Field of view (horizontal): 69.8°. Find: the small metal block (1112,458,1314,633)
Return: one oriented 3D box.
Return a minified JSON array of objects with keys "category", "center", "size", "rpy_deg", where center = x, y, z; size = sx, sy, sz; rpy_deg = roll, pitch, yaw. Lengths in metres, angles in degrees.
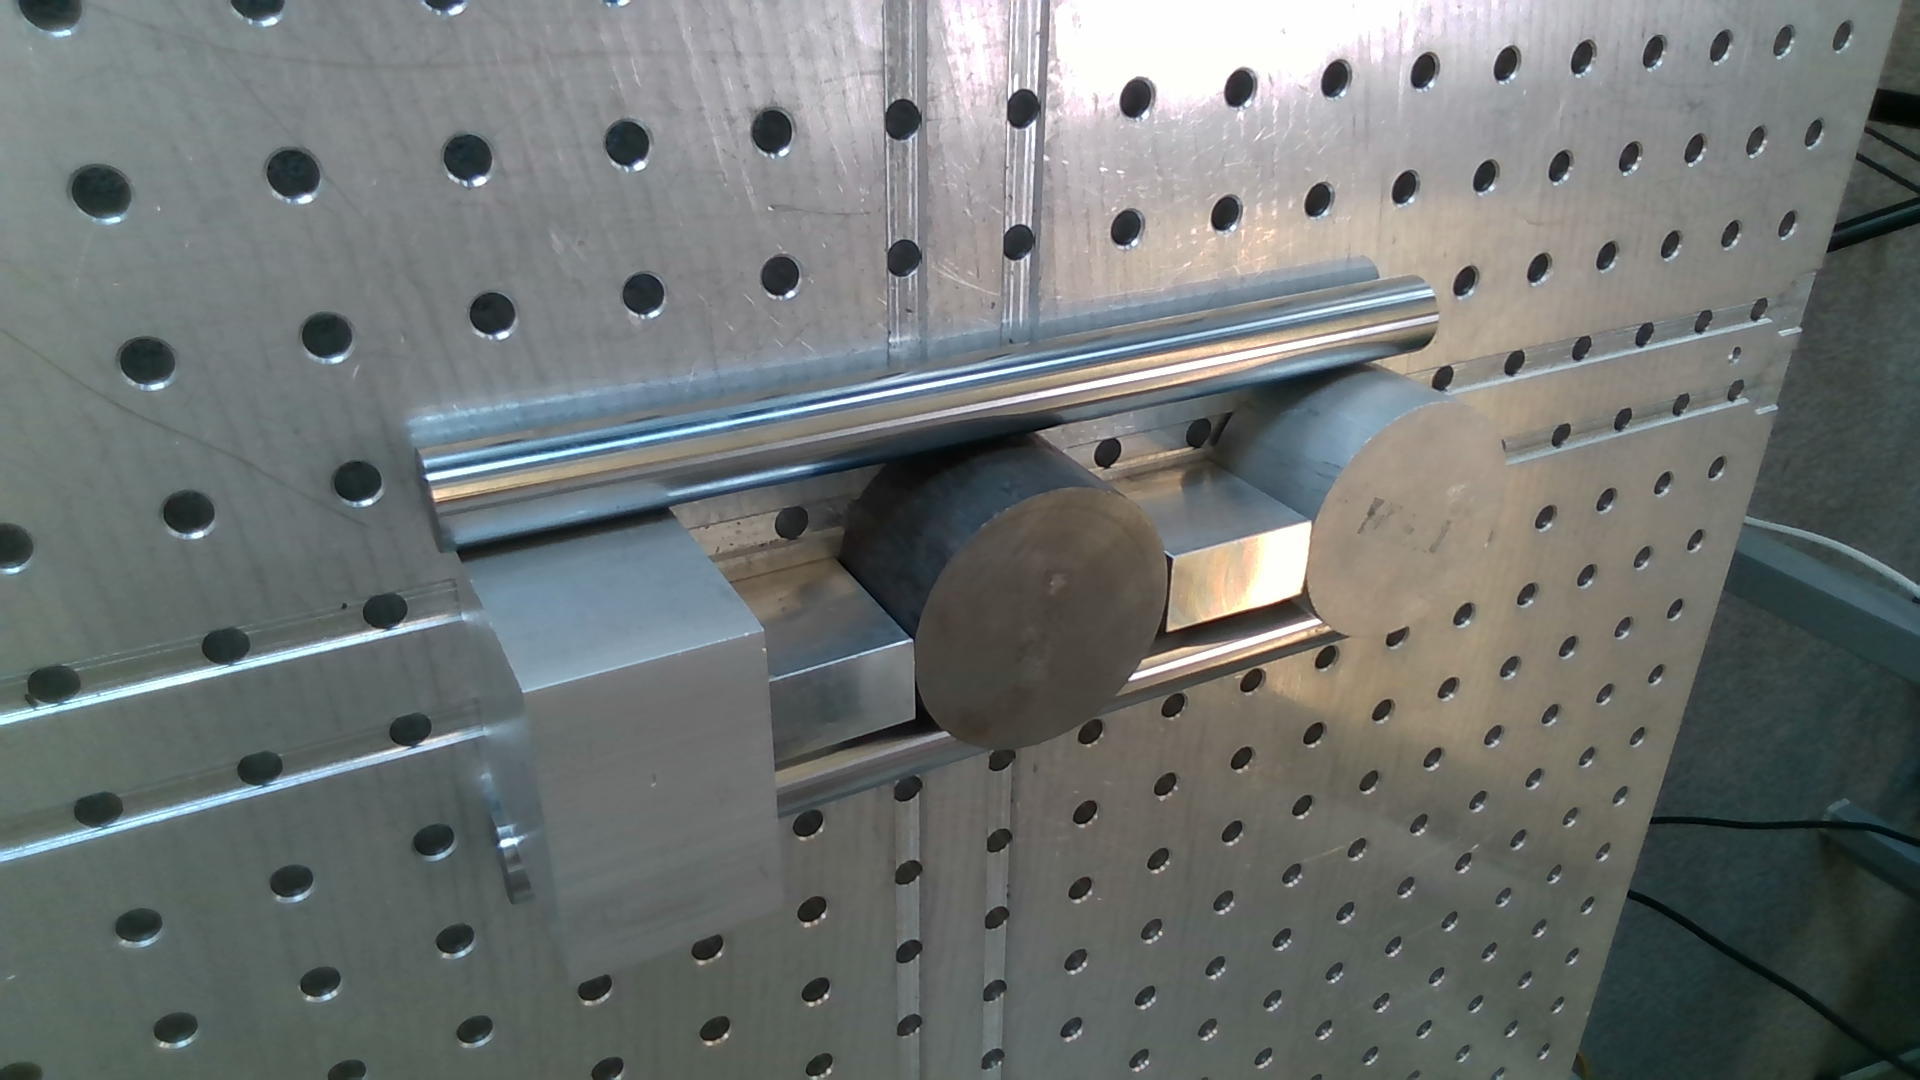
[{"category":"small metal block","center":[0.070,0.000,0.418],"size":[0.050,0.050,0.025],"rpy_deg":[-14,121,-25]}]

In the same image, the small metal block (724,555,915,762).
[{"category":"small metal block","center":[-0.046,0.031,0.365],"size":[0.050,0.050,0.025],"rpy_deg":[-14,121,-25]}]

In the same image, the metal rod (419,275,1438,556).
[{"category":"metal rod","center":[0.012,-0.041,0.377],"size":[0.300,0.025,0.025],"rpy_deg":[-14,121,-25]}]

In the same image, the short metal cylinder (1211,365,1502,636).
[{"category":"short metal cylinder","center":[0.127,-0.016,0.446],"size":[0.080,0.050,0.080],"rpy_deg":[-14,122,-25]}]

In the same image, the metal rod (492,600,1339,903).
[{"category":"metal rod","center":[0.011,0.052,0.427],"size":[0.300,0.025,0.025],"rpy_deg":[-14,121,-25]}]

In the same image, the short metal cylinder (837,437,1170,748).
[{"category":"short metal cylinder","center":[0.012,0.011,0.390],"size":[0.080,0.050,0.080],"rpy_deg":[-14,122,-25]}]

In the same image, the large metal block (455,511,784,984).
[{"category":"large metal block","center":[-0.083,0.042,0.329],"size":[0.050,0.080,0.080],"rpy_deg":[-14,121,-25]}]
